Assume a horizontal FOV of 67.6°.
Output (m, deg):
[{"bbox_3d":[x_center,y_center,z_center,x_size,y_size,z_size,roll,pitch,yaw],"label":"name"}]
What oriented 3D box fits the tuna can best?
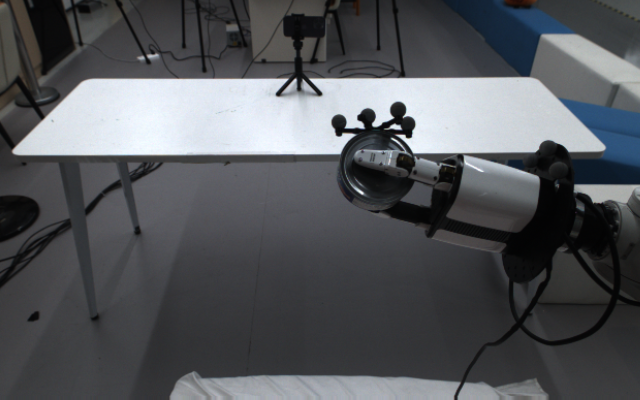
[{"bbox_3d":[0.063,-0.034,0.538,0.085,0.034,0.085,1,70,-4],"label":"tuna can"}]
